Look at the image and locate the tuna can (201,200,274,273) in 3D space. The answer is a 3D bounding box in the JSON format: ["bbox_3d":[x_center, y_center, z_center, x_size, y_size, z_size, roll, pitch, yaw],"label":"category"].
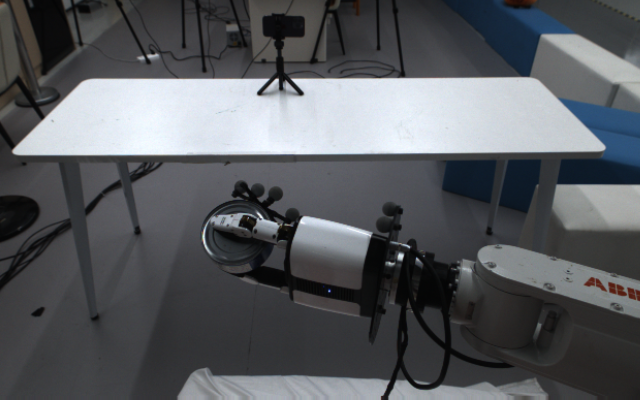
[{"bbox_3d":[-0.098,0.044,0.587,0.085,0.034,0.085,-2,60,3],"label":"tuna can"}]
